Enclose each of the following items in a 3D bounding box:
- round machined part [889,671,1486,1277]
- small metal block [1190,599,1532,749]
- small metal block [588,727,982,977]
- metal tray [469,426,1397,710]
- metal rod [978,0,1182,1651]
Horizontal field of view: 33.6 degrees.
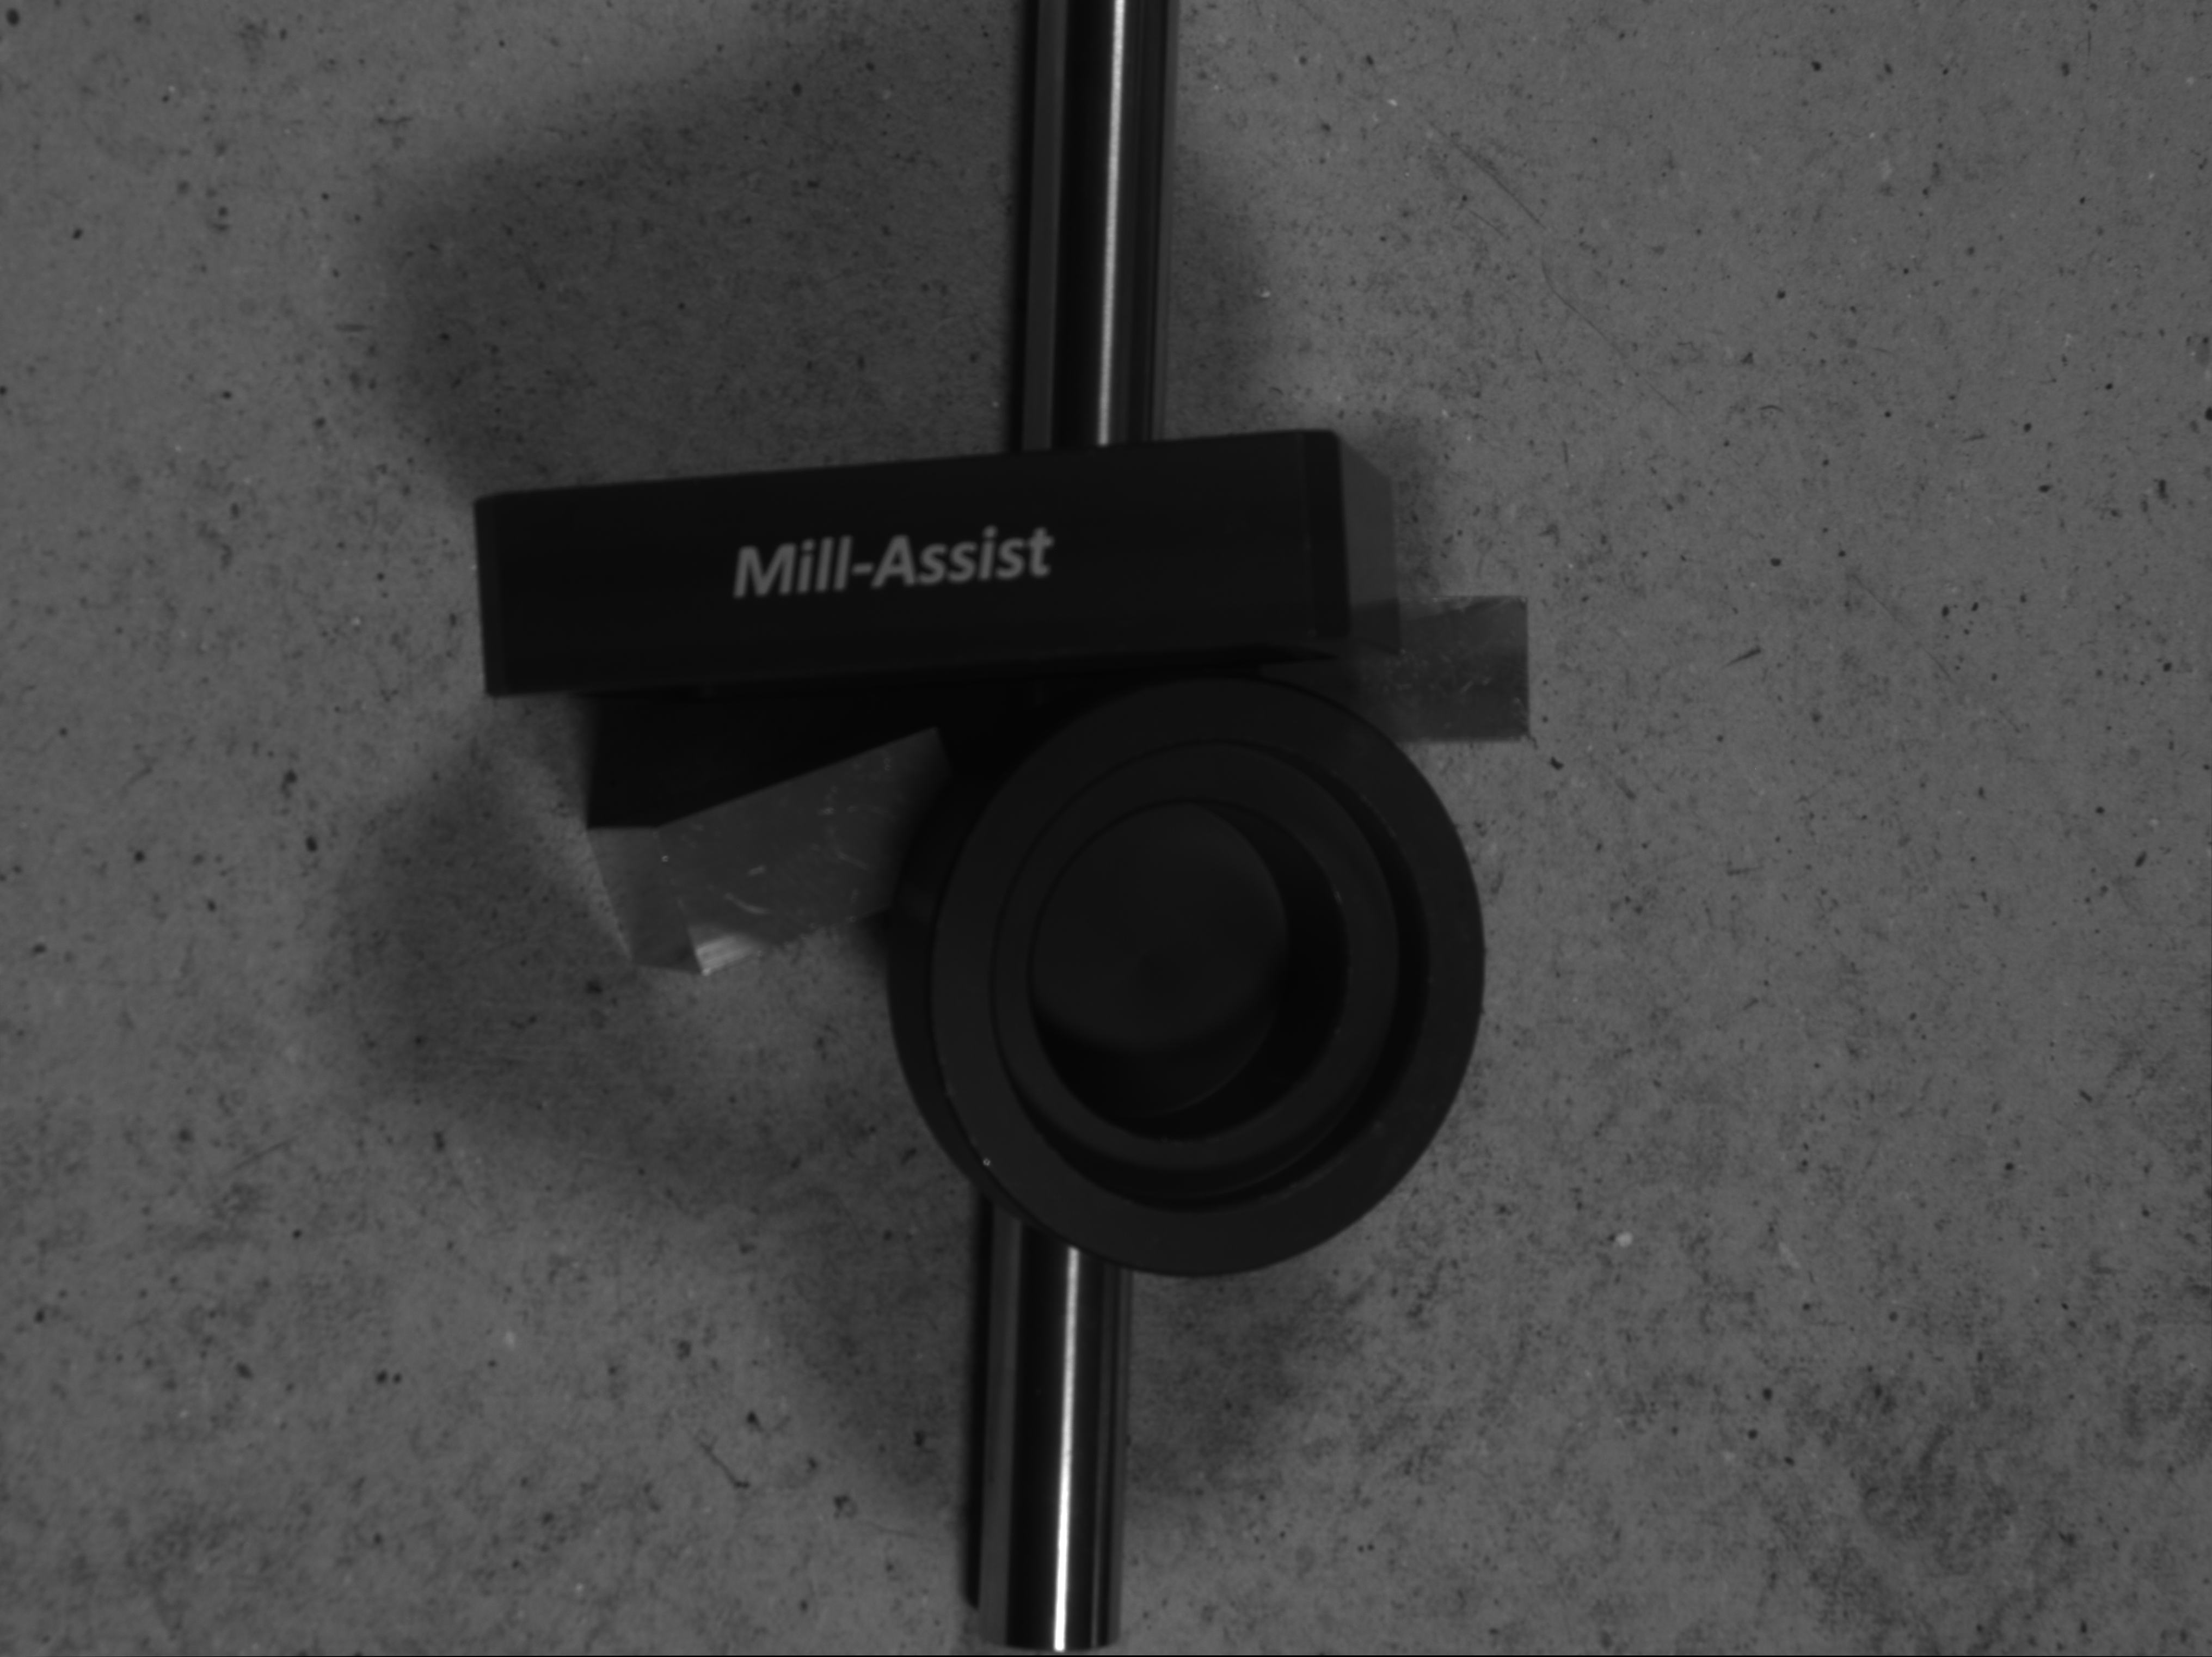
[{"bbox_3d":[0.010,0.023,0.609,0.098,0.042,0.098,-1,94,-22],"label":"round machined part"},{"bbox_3d":[0.041,-0.026,0.645,0.050,0.050,0.025,-2,90,-20],"label":"small metal block"},{"bbox_3d":[-0.054,0.004,0.611,0.050,0.050,0.025,-20,97,-19],"label":"small metal block"},{"bbox_3d":[-0.024,-0.039,0.576,0.130,0.090,0.030,-4,90,10],"label":"metal tray"},{"bbox_3d":[-0.004,-0.009,0.642,0.025,0.025,0.300,2,89,-20],"label":"metal rod"}]
